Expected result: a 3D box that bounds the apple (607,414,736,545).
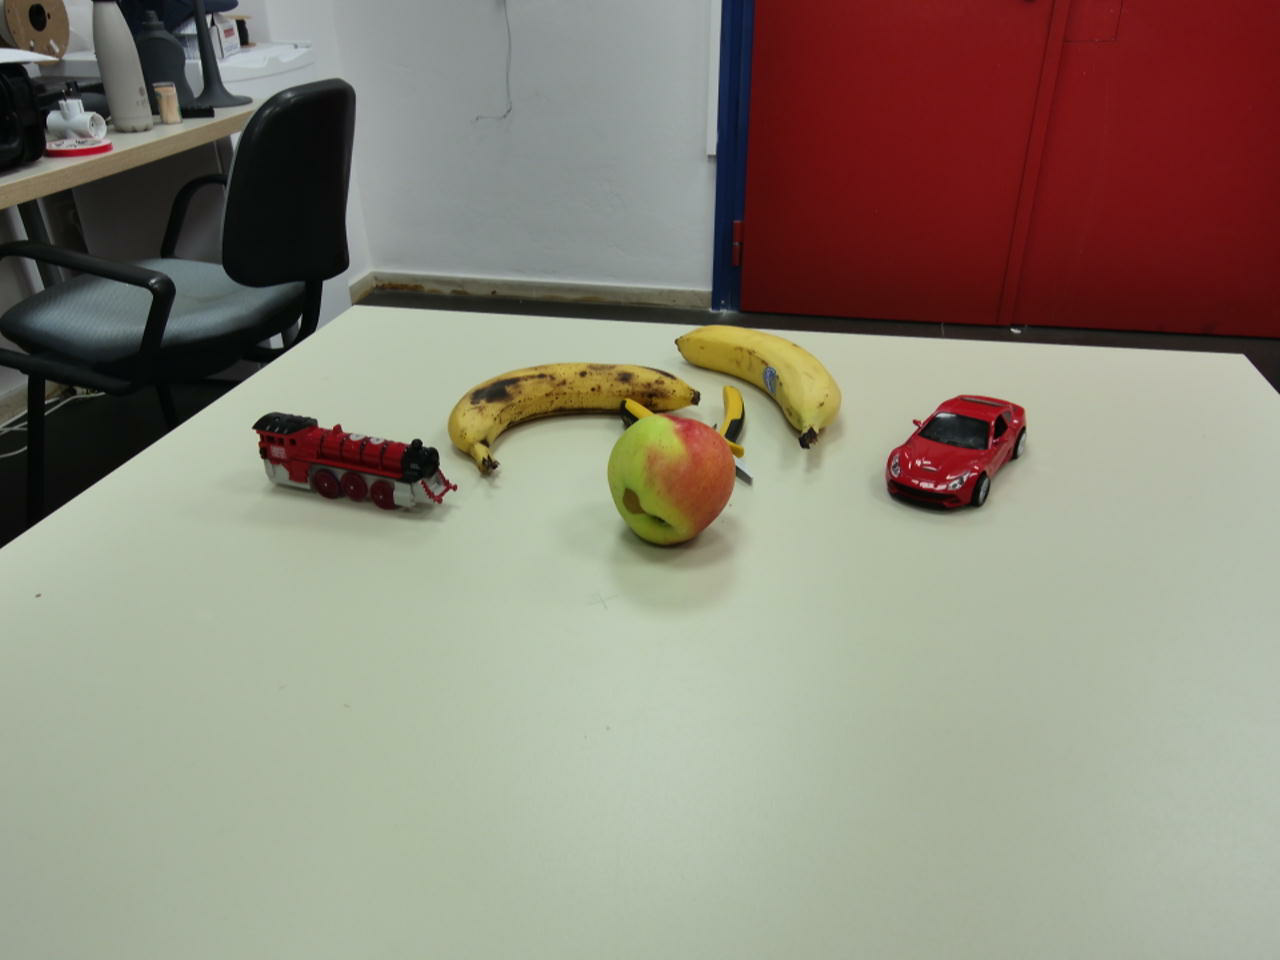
[{"bbox_3d":[0.019,-0.001,0.583,0.075,0.074,0.075,-3,26,-7],"label":"apple"}]
